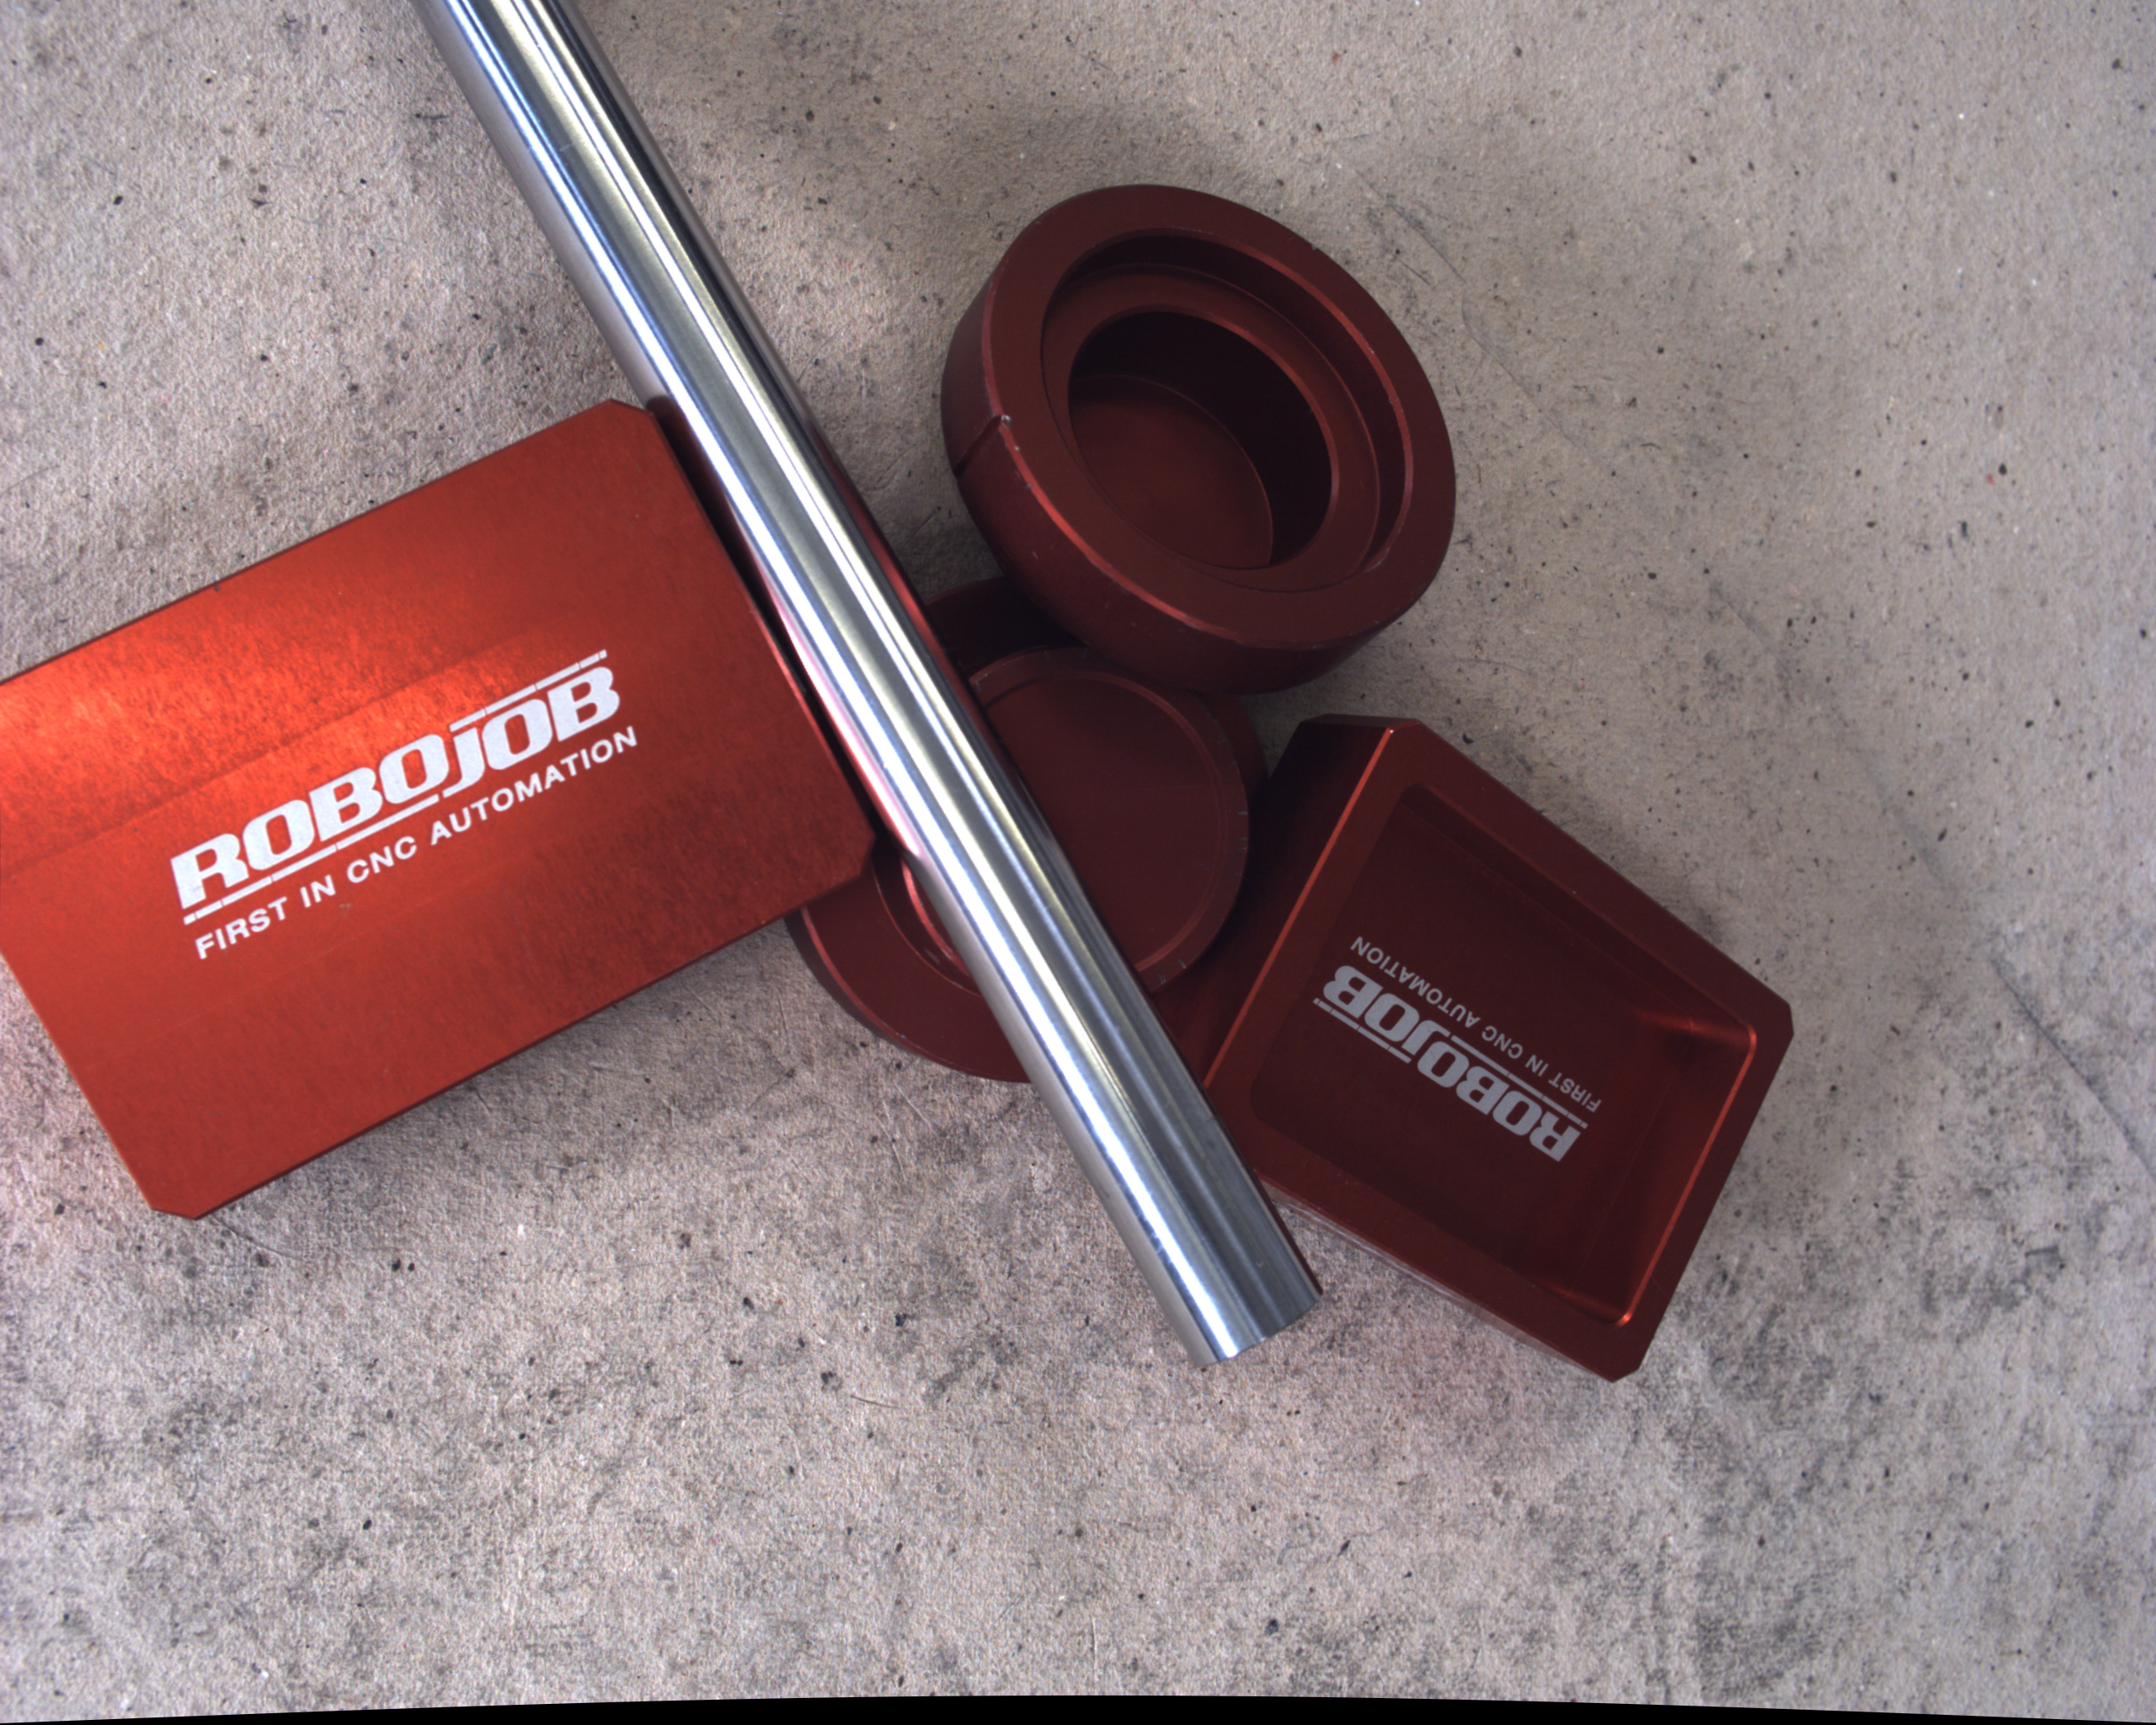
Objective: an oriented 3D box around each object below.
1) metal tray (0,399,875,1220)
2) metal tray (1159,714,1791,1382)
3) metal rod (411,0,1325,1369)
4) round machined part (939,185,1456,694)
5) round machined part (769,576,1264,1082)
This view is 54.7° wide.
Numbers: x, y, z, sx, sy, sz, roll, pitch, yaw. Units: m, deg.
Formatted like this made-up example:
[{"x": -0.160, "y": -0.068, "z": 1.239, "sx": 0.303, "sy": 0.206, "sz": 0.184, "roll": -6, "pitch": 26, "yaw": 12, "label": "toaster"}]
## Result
[{"x": -0.113, "y": -0.010, "z": 0.355, "sx": 0.131, "sy": 0.030, "sz": 0.090, "roll": -28, "pitch": 97, "yaw": -9, "label": "metal tray"}, {"x": 0.080, "y": 0.039, "z": 0.426, "sx": 0.130, "sy": 0.030, "sz": 0.090, "roll": 33, "pitch": 79, "yaw": -28, "label": "metal tray"}, {"x": -0.044, "y": -0.051, "z": 0.358, "sx": 0.025, "sy": 0.025, "sz": 0.299, "roll": -29, "pitch": 87, "yaw": -18, "label": "metal rod"}, {"x": 0.019, "y": -0.076, "z": 0.397, "sx": 0.099, "sy": 0.042, "sz": 0.098, "roll": 11, "pitch": 64, "yaw": -23, "label": "round machined part"}, {"x": -0.007, "y": -0.006, "z": 0.399, "sx": 0.099, "sy": 0.042, "sz": 0.097, "roll": 0, "pitch": 90, "yaw": -20, "label": "round machined part"}]
